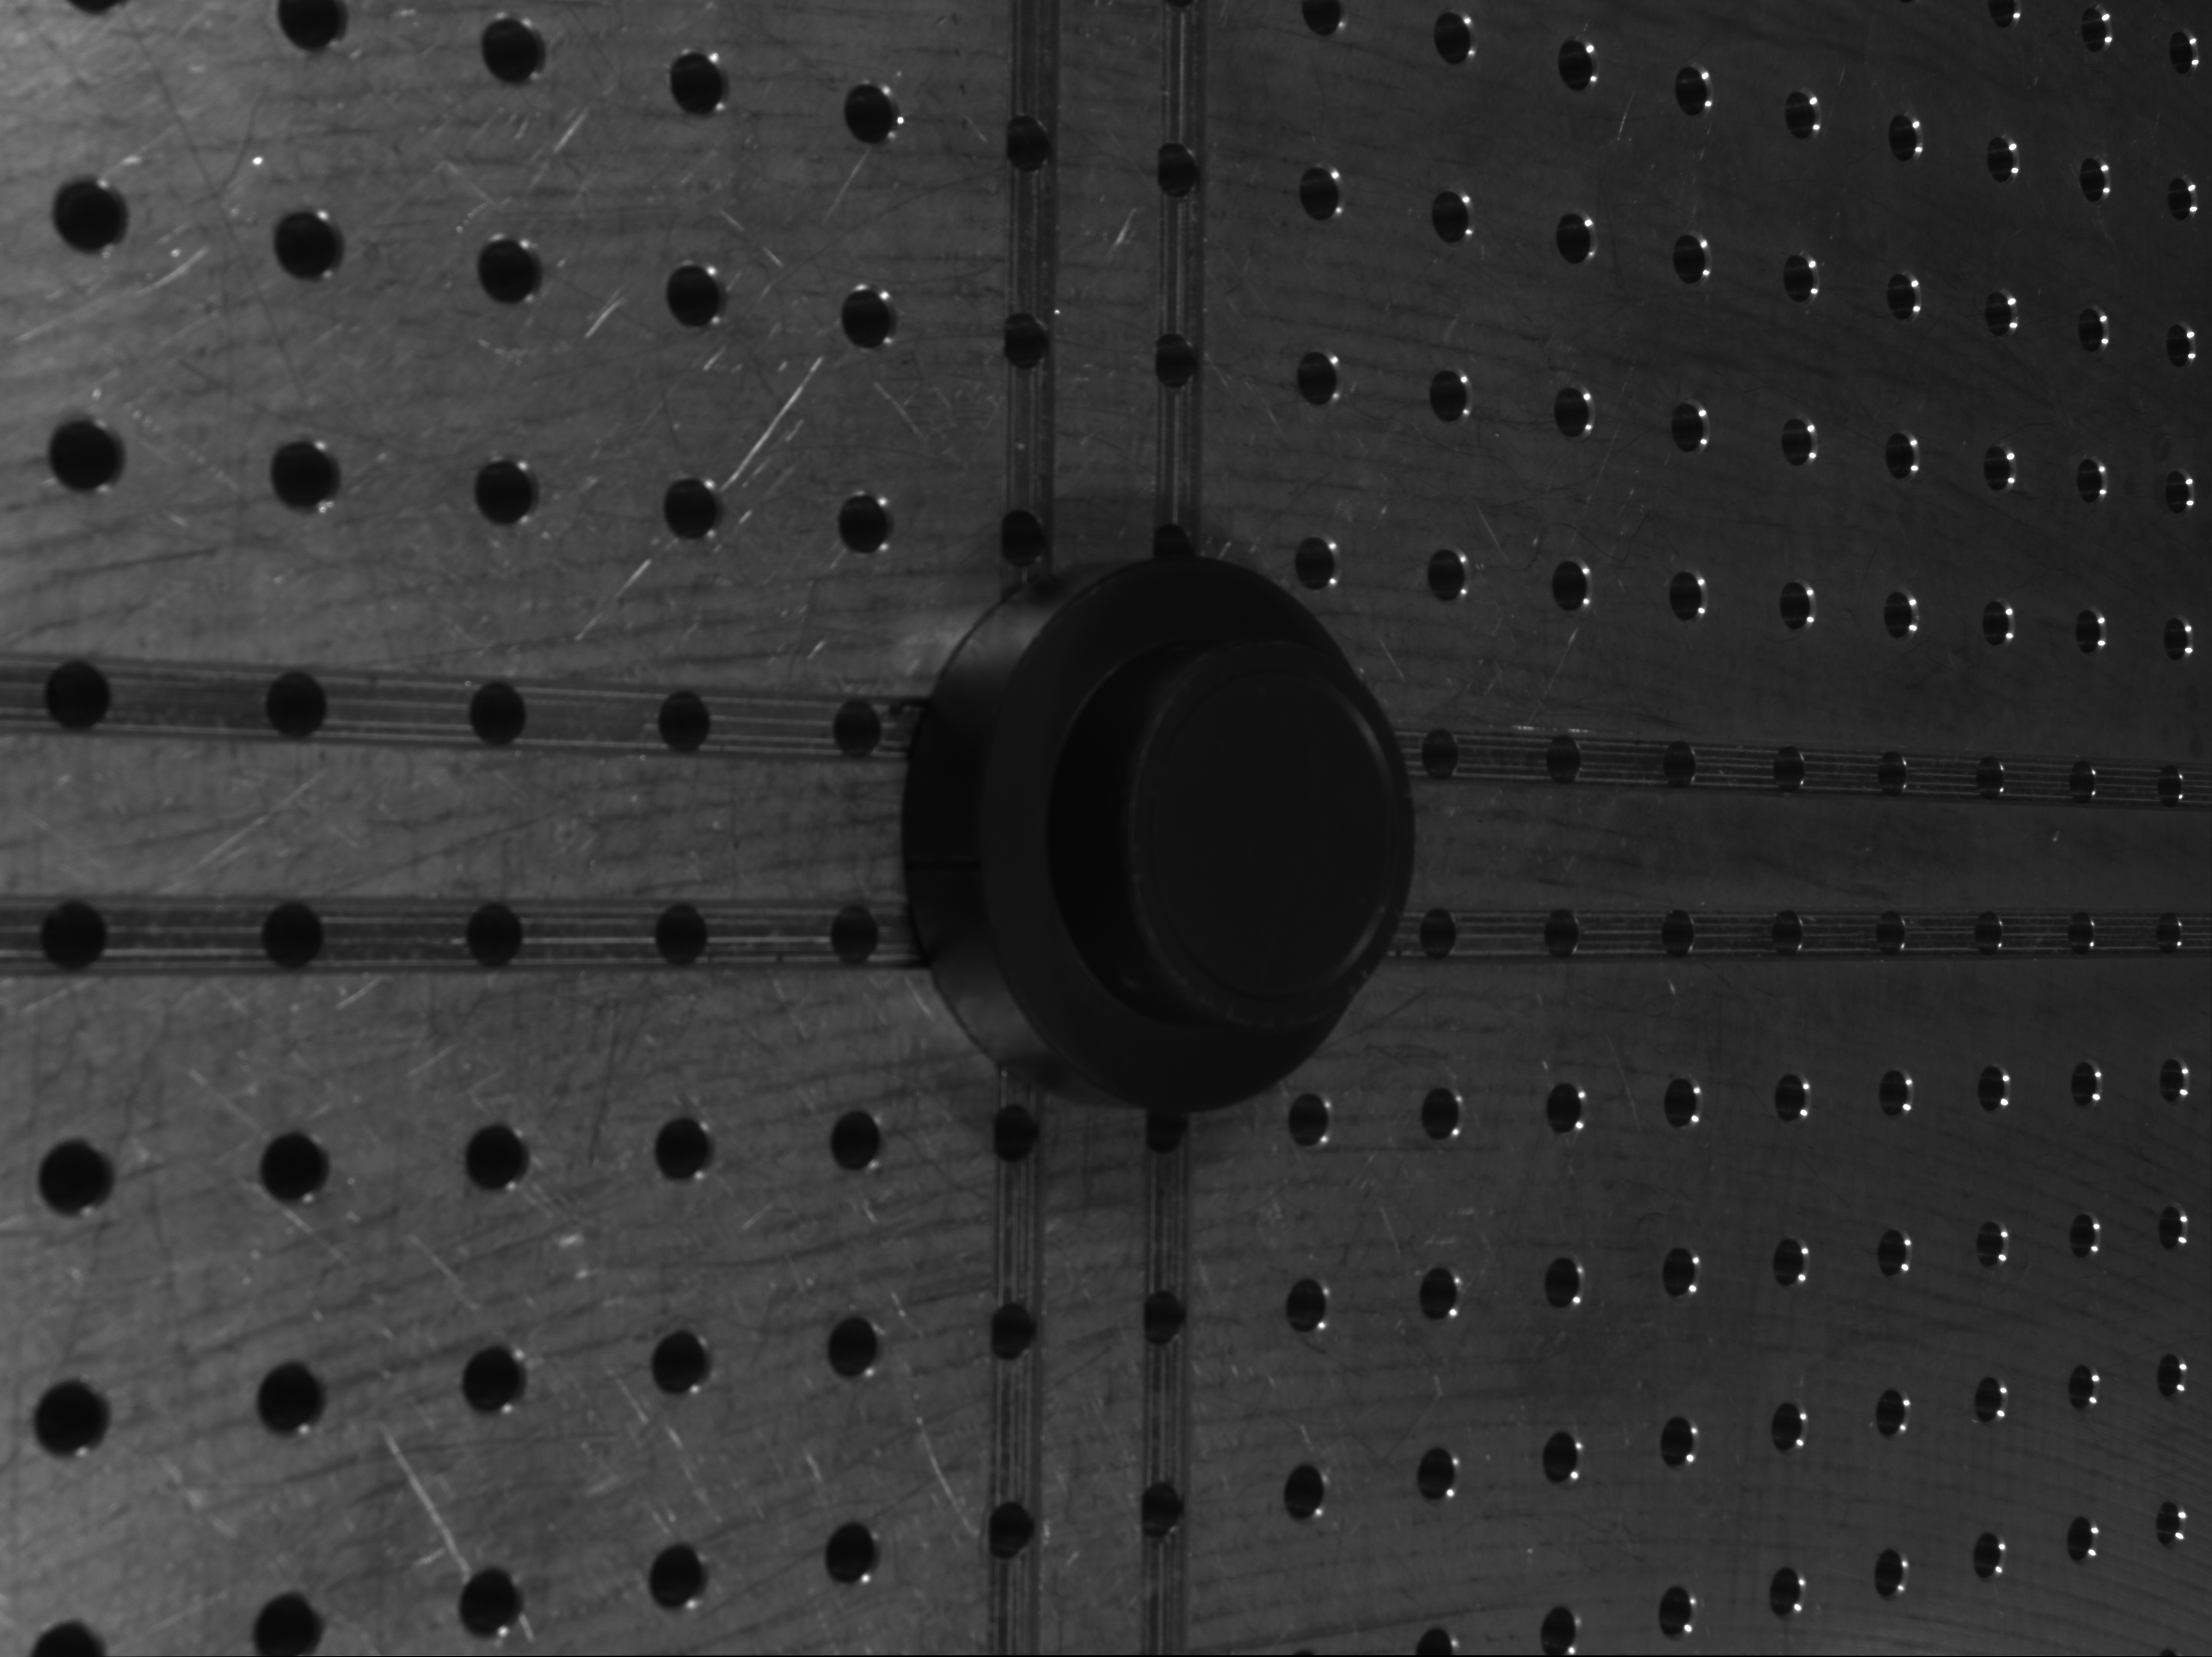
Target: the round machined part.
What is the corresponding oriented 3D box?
[{"bbox_3d":[0.018,0.001,0.644,0.098,0.042,0.098,0,90,-40],"label":"round machined part"}]
